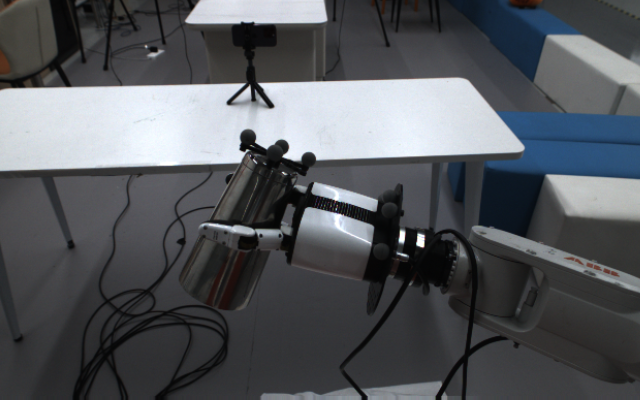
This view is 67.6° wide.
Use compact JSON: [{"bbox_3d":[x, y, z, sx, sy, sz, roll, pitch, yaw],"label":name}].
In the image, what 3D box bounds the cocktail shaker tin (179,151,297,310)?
[{"bbox_3d":[-0.088,0.032,0.569,0.093,0.170,0.093,24,12,-6],"label":"cocktail shaker tin"}]
